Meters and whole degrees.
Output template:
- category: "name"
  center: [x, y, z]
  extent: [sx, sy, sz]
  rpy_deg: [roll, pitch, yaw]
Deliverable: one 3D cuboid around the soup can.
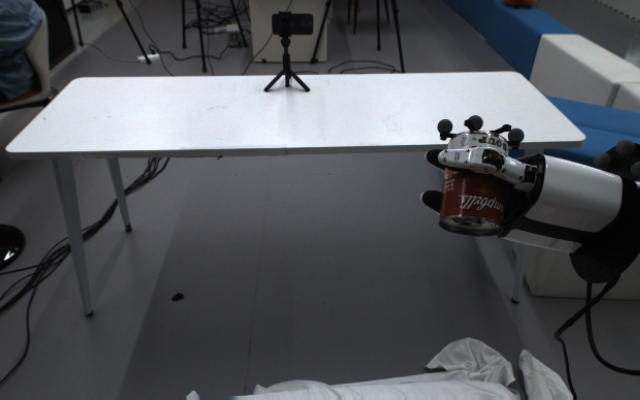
- category: "soup can"
  center: [0.174, -0.018, 0.538]
  extent: [0.067, 0.067, 0.101]
  rpy_deg: [8, 72, 9]
